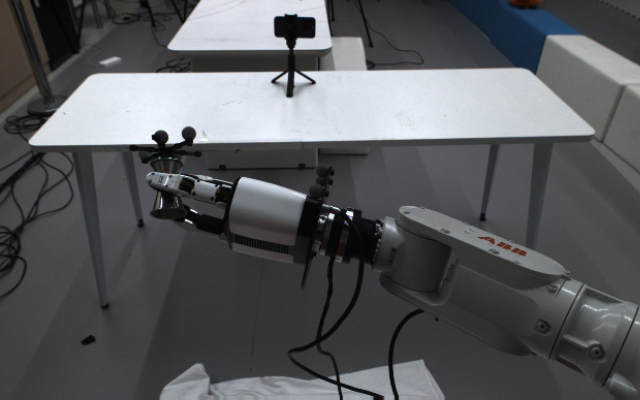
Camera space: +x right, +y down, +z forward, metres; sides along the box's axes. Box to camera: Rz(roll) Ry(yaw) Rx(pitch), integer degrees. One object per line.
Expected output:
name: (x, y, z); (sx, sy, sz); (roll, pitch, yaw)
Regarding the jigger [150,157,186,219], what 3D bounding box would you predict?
jigger: (-0.190, -0.014, 0.607); (0.043, 0.043, 0.071); (-5, 73, -10)
